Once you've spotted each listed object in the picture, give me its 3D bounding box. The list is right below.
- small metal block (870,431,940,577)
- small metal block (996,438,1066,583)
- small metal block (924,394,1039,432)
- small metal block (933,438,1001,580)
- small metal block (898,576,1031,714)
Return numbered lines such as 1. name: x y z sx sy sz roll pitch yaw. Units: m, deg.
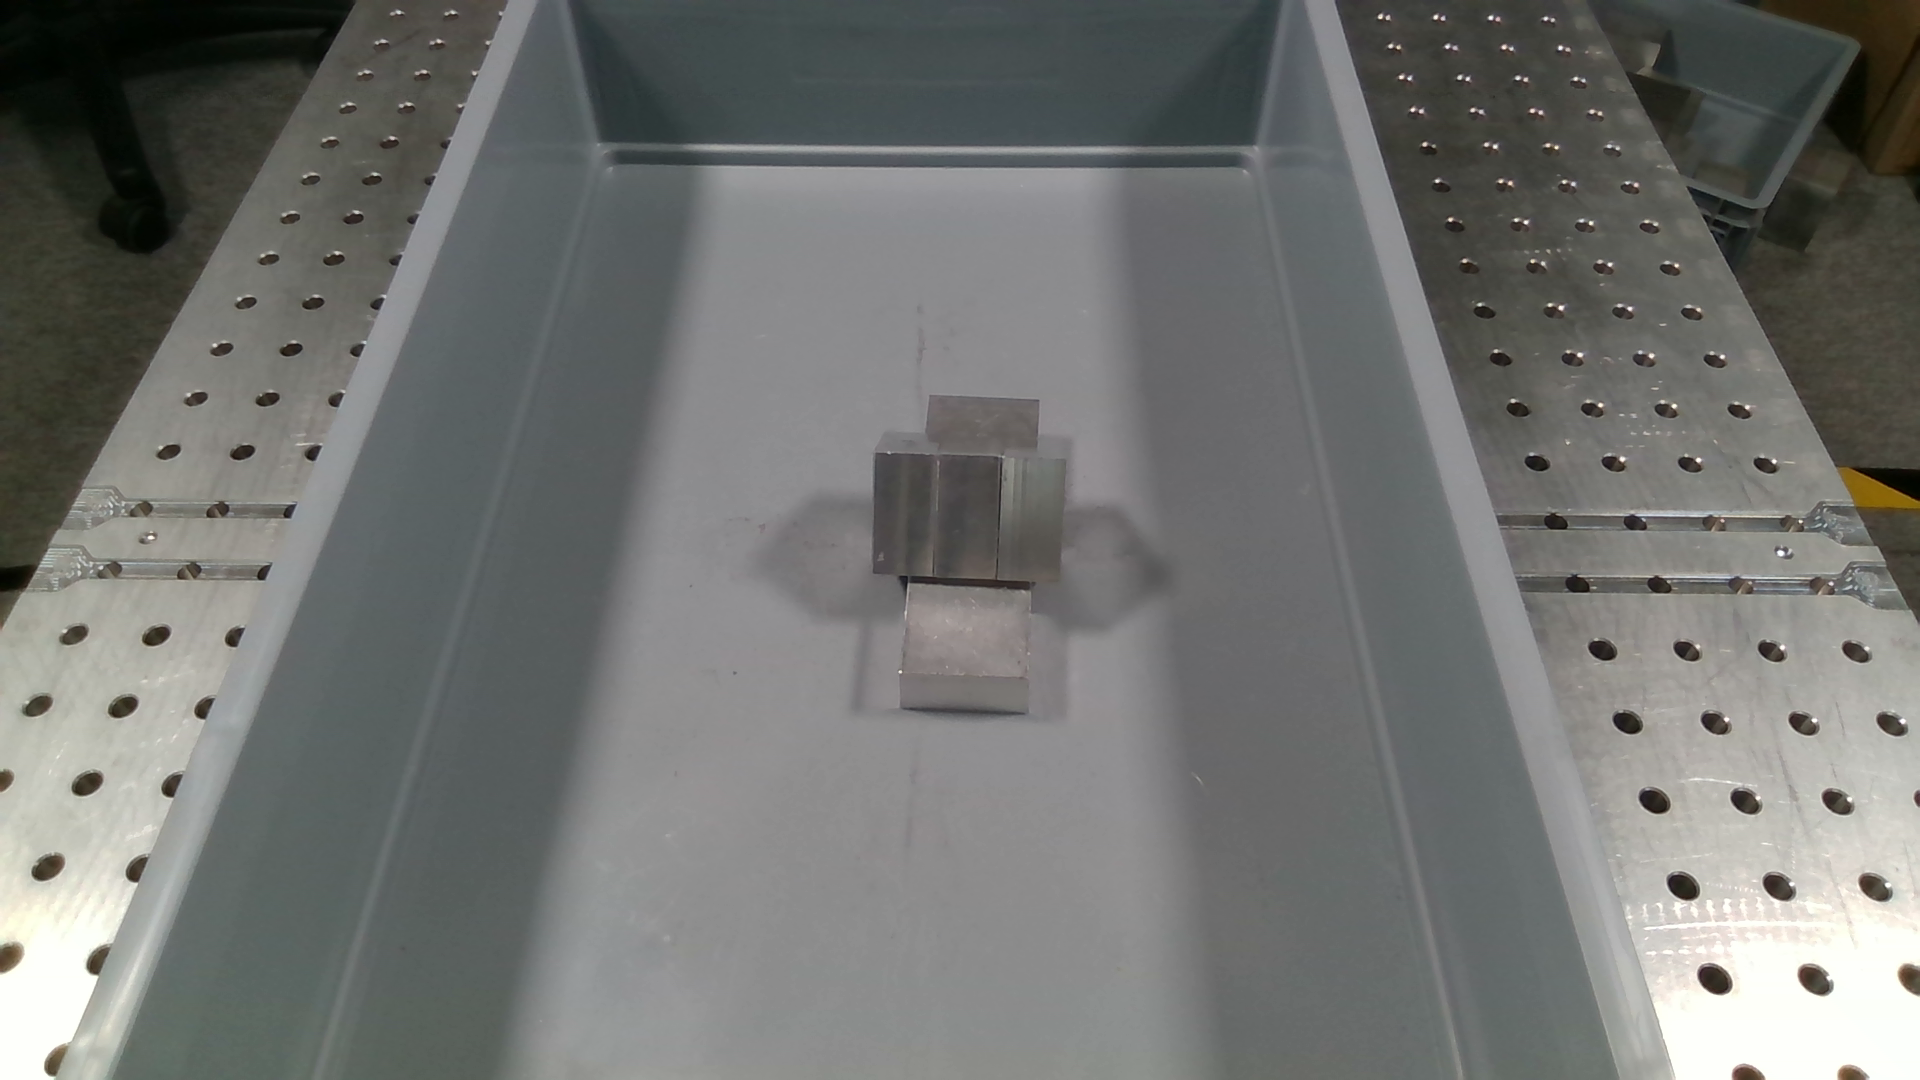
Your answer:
1. small metal block: -0.022 -0.016 0.569 0.025 0.050 0.050 2 14 1
2. small metal block: 0.029 -0.014 0.567 0.025 0.050 0.050 3 14 2
3. small metal block: 0.009 -0.038 0.617 0.050 0.025 0.050 3 50 2
4. small metal block: 0.003 -0.015 0.568 0.025 0.050 0.050 2 14 1
5. small metal block: 0.003 0.041 0.552 0.050 0.025 0.050 2 50 2
